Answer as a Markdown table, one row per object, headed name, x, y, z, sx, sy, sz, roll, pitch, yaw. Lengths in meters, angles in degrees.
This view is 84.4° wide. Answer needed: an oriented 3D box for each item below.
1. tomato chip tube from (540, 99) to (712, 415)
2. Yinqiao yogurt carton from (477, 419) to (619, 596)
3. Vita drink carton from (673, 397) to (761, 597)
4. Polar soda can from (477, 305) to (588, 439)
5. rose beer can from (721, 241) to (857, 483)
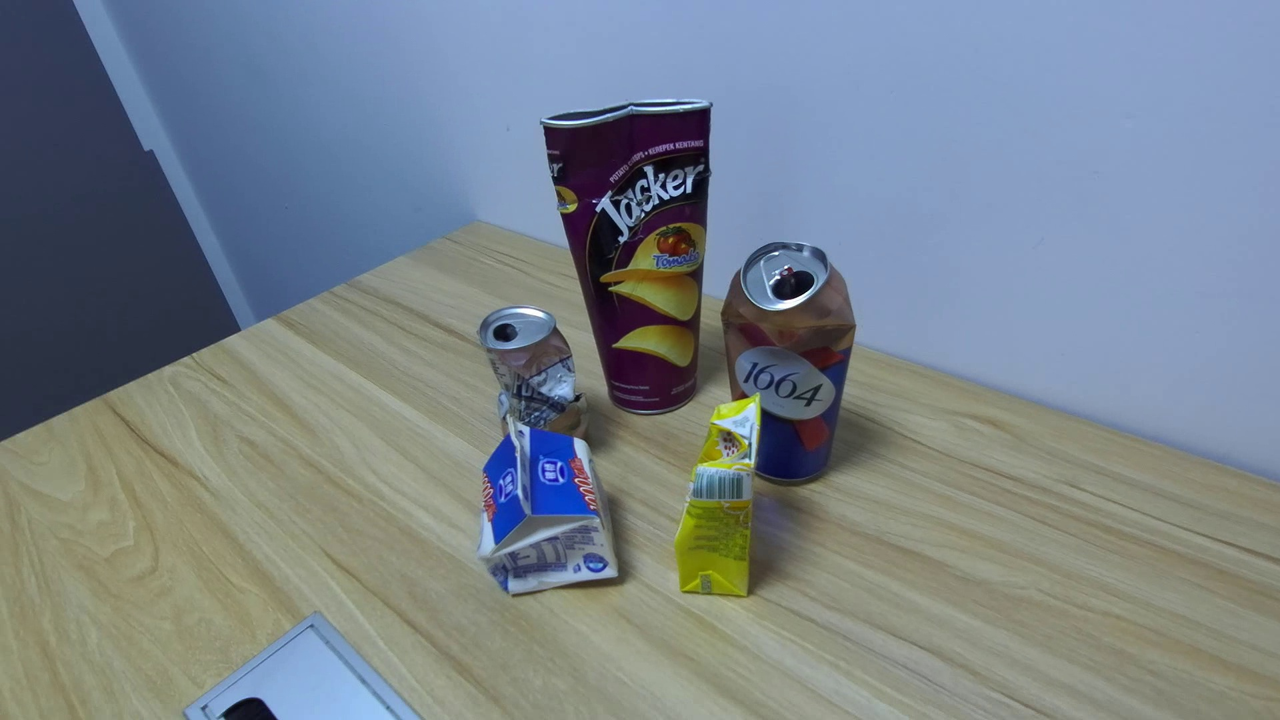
| name | x | y | z | sx | sy | sz | roll | pitch | yaw |
| --- | --- | --- | --- | --- | --- | --- | --- | --- | --- |
| tomato chip tube | -0.001 | -0.070 | 0.530 | 0.089 | 0.236 | 0.078 | 25 | 47 | 33 |
| Yinqiao yogurt carton | -0.065 | 0.089 | 0.436 | 0.080 | 0.097 | 0.074 | -18 | 36 | -1 |
| Vita drink carton | 0.046 | 0.079 | 0.417 | 0.046 | 0.110 | 0.071 | 3 | 35 | 10 |
| Polar soda can | -0.077 | 0.019 | 0.524 | 0.074 | 0.114 | 0.070 | -7 | 40 | 6 |
| rose beer can | 0.097 | 0.006 | 0.466 | 0.069 | 0.168 | 0.069 | -12 | 37 | -4 |
